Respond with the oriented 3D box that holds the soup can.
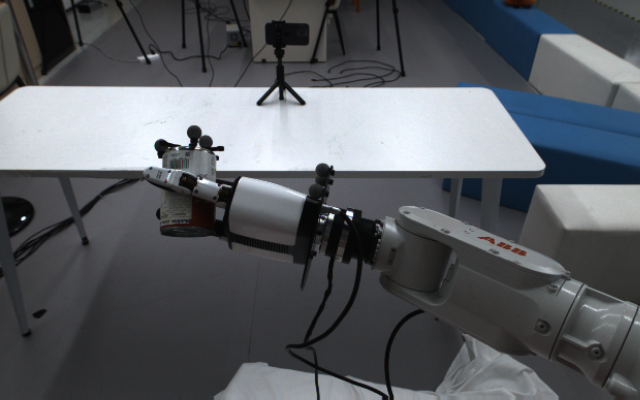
[{"bbox_3d":[-0.162,-0.007,0.602,0.067,0.067,0.101,-1,76,-5],"label":"soup can"}]
